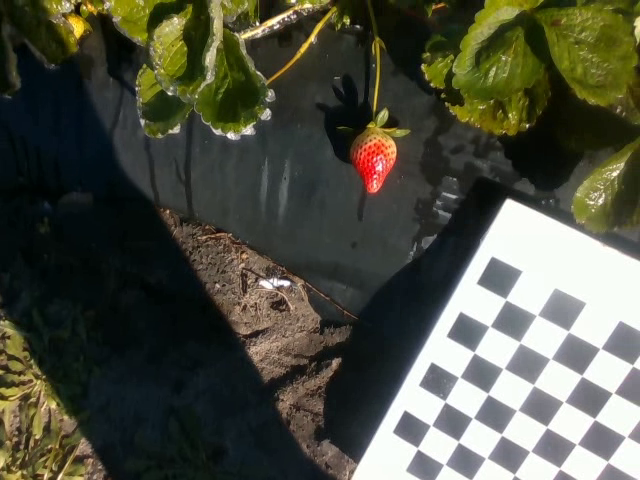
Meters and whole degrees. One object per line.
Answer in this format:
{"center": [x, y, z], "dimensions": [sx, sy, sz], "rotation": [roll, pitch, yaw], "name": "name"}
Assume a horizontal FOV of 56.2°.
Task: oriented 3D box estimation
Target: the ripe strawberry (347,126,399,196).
{"center": [0.041, -0.058, 0.436], "dimensions": [0.039, 0.053, 0.040], "rotation": [6, -4, 18], "name": "ripe strawberry"}
